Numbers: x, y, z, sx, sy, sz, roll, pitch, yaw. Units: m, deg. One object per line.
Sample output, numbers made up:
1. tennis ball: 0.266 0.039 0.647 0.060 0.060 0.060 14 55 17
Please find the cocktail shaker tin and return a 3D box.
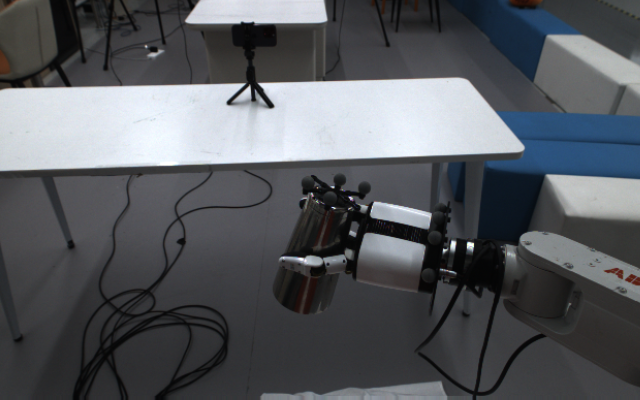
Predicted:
1. cocktail shaker tin: -0.002 0.066 0.683 0.093 0.170 0.093 12 29 -7
